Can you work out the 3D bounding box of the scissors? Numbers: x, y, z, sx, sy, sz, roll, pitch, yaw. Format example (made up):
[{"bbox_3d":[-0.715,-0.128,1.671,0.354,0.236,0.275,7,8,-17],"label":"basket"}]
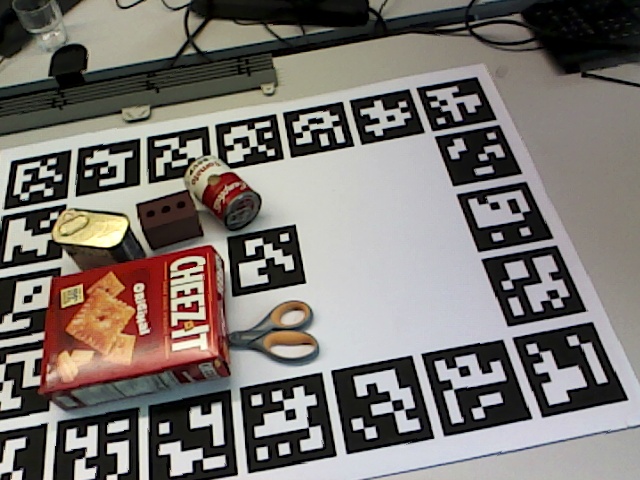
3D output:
[{"bbox_3d":[-0.114,0.132,0.791,0.202,0.016,0.088,-15,58,-3],"label":"scissors"}]

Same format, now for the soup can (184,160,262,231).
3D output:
[{"bbox_3d":[-0.145,-0.067,0.915,0.103,0.067,0.068,34,67,30],"label":"soup can"}]

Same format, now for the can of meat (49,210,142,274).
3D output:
[{"bbox_3d":[-0.310,0.005,0.865,0.102,0.083,0.058,1,58,6],"label":"can of meat"}]

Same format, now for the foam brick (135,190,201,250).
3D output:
[{"bbox_3d":[-0.220,-0.029,0.900,0.078,0.051,0.053,-20,58,-7],"label":"foam brick"}]

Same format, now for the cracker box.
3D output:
[{"bbox_3d":[-0.236,0.108,0.783,0.213,0.071,0.165,-17,56,0],"label":"cracker box"}]
